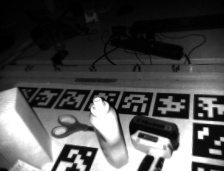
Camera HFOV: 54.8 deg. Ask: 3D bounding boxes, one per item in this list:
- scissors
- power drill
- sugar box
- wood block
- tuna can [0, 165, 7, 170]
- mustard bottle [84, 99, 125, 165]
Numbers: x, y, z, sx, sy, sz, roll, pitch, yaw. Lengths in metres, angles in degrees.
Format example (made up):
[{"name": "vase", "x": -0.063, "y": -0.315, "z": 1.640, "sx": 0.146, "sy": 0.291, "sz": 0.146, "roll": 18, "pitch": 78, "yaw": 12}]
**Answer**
[{"name": "scissors", "x": -0.117, "y": 0.110, "z": 0.638, "sx": 0.201, "sy": 0.016, "sz": 0.088, "roll": 3, "pitch": 41, "yaw": 21}, {"name": "power drill", "x": 0.022, "y": 0.179, "z": 0.489, "sx": 0.182, "sy": 0.058, "sz": 0.187, "roll": 13, "pitch": 56, "yaw": 29}, {"name": "sugar box", "x": -0.139, "y": 0.223, "z": 0.466, "sx": 0.174, "sy": 0.093, "sz": 0.045, "roll": 12, "pitch": 46, "yaw": 26}, {"name": "wood block", "x": -0.239, "y": 0.115, "z": 0.542, "sx": 0.091, "sy": 0.208, "sz": 0.089, "roll": -18, "pitch": 42, "yaw": -1}, {"name": "tuna can", "x": -0.291, "y": 0.241, "z": 0.531, "sx": 0.085, "sy": 0.034, "sz": 0.085, "roll": -8, "pitch": 43, "yaw": 8}, {"name": "mustard bottle", "x": -0.022, "y": 0.100, "z": 0.500, "sx": 0.058, "sy": 0.193, "sz": 0.095, "roll": -27, "pitch": 43, "yaw": -9}]
